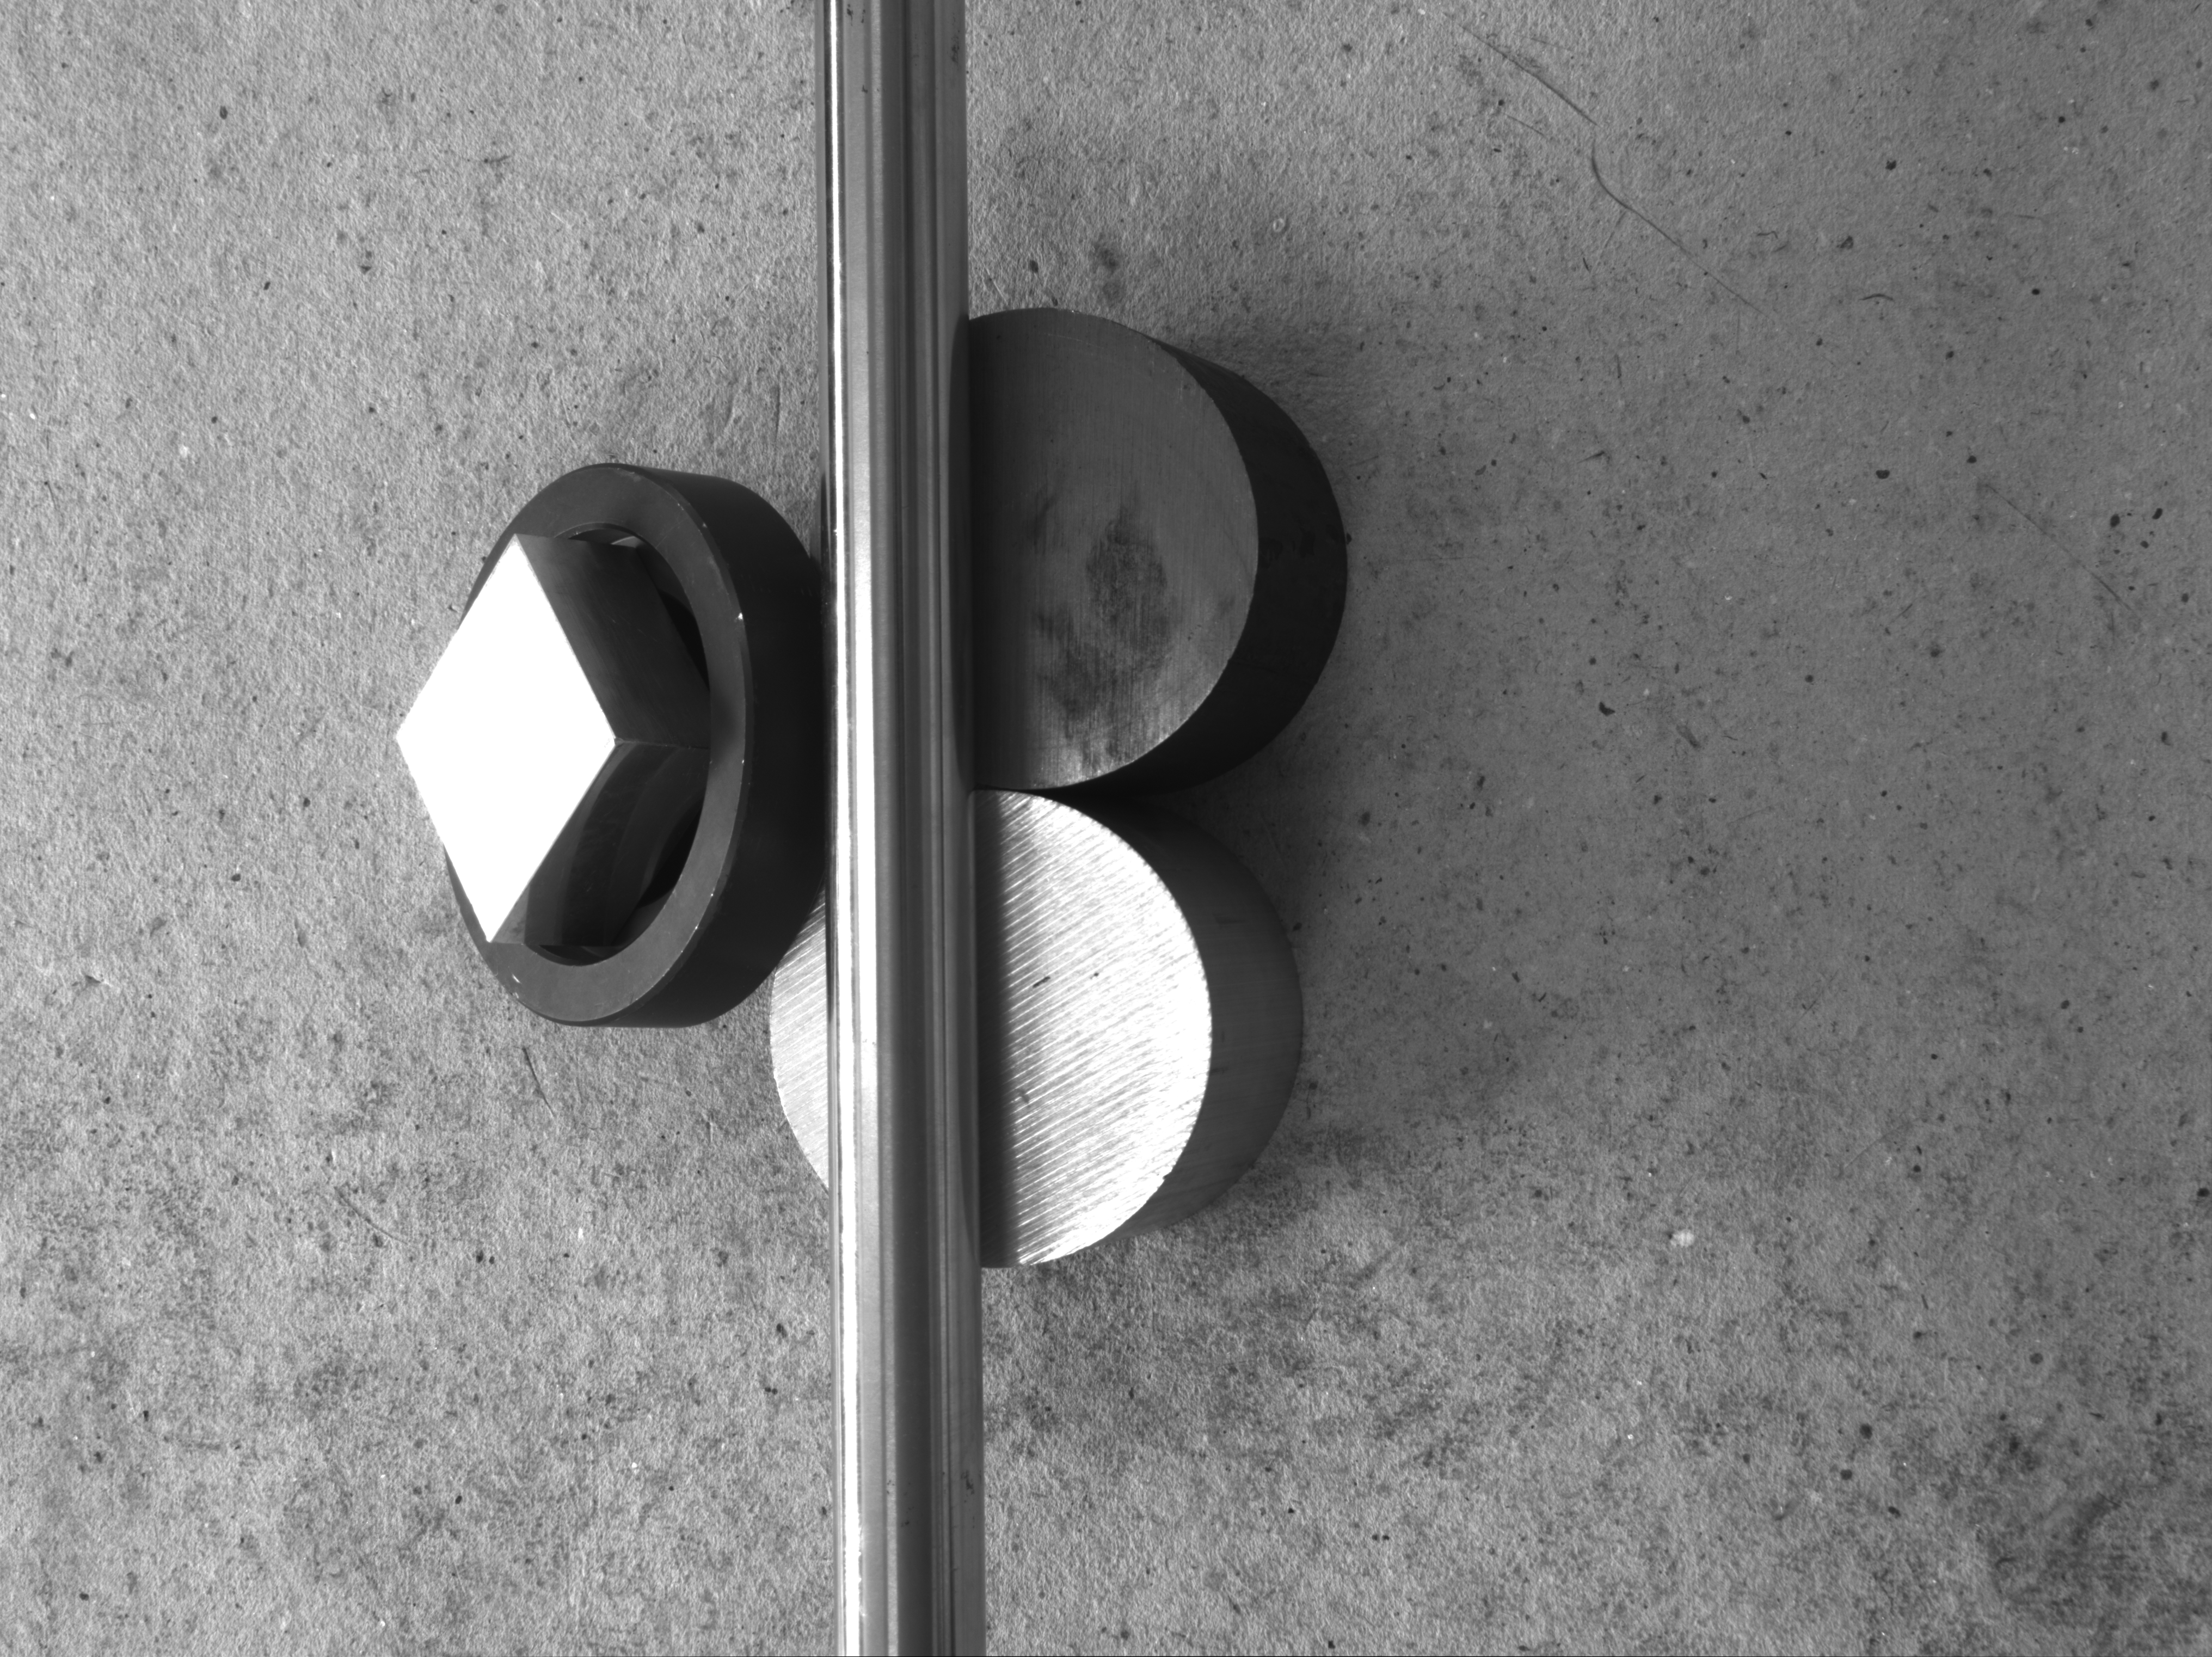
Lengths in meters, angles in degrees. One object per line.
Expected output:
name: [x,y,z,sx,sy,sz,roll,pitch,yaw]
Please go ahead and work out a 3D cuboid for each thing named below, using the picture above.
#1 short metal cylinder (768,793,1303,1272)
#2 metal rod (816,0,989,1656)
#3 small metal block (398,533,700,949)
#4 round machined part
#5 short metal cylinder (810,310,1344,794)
short metal cylinder: [-0.011,0.034,0.637,0.080,0.050,0.080,0,89,20]
metal rod: [-0.034,-0.010,0.606,0.025,0.025,0.300,-1,89,20]
small metal block: [-0.094,-0.015,0.638,0.050,0.025,0.050,-53,51,32]
round machined part: [-0.075,-0.014,0.652,0.098,0.042,0.098,-4,84,49]
short metal cylinder: [-0.004,-0.046,0.636,0.080,0.050,0.080,0,90,20]
